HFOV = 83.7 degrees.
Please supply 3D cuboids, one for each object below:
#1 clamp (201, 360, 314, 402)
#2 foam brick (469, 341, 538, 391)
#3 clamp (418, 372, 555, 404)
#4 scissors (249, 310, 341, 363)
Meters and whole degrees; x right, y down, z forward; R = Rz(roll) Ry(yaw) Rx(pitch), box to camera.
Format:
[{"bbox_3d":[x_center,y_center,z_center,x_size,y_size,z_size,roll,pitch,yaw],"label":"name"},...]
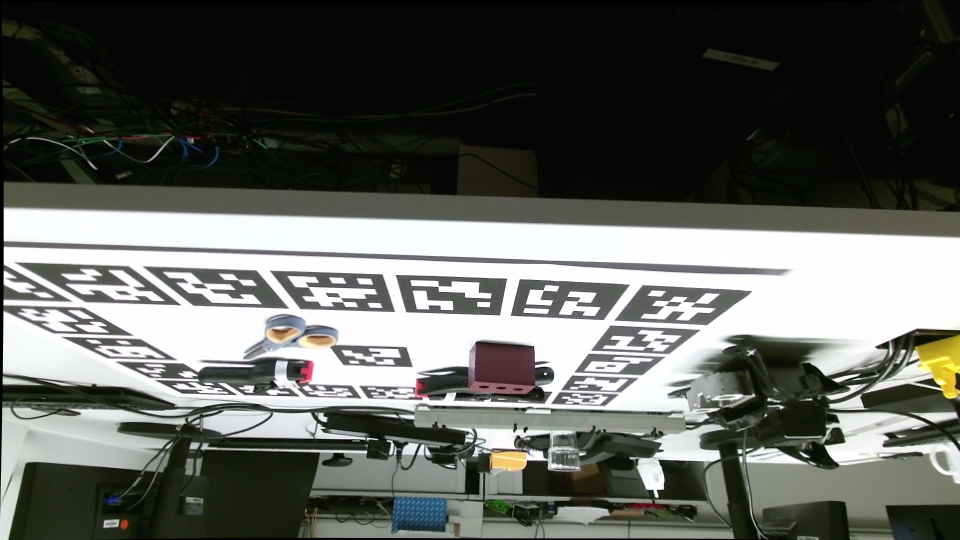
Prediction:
[{"bbox_3d":[-0.319,0.166,0.807,0.165,0.036,0.122,-13,142,23],"label":"clamp"},{"bbox_3d":[0.029,0.125,0.696,0.078,0.051,0.053,2,151,-10],"label":"foam brick"},{"bbox_3d":[0.008,0.184,0.818,0.203,0.036,0.165,1,155,3],"label":"clamp"},{"bbox_3d":[-0.252,0.097,0.681,0.088,0.016,0.203,30,142,-30],"label":"scissors"}]
